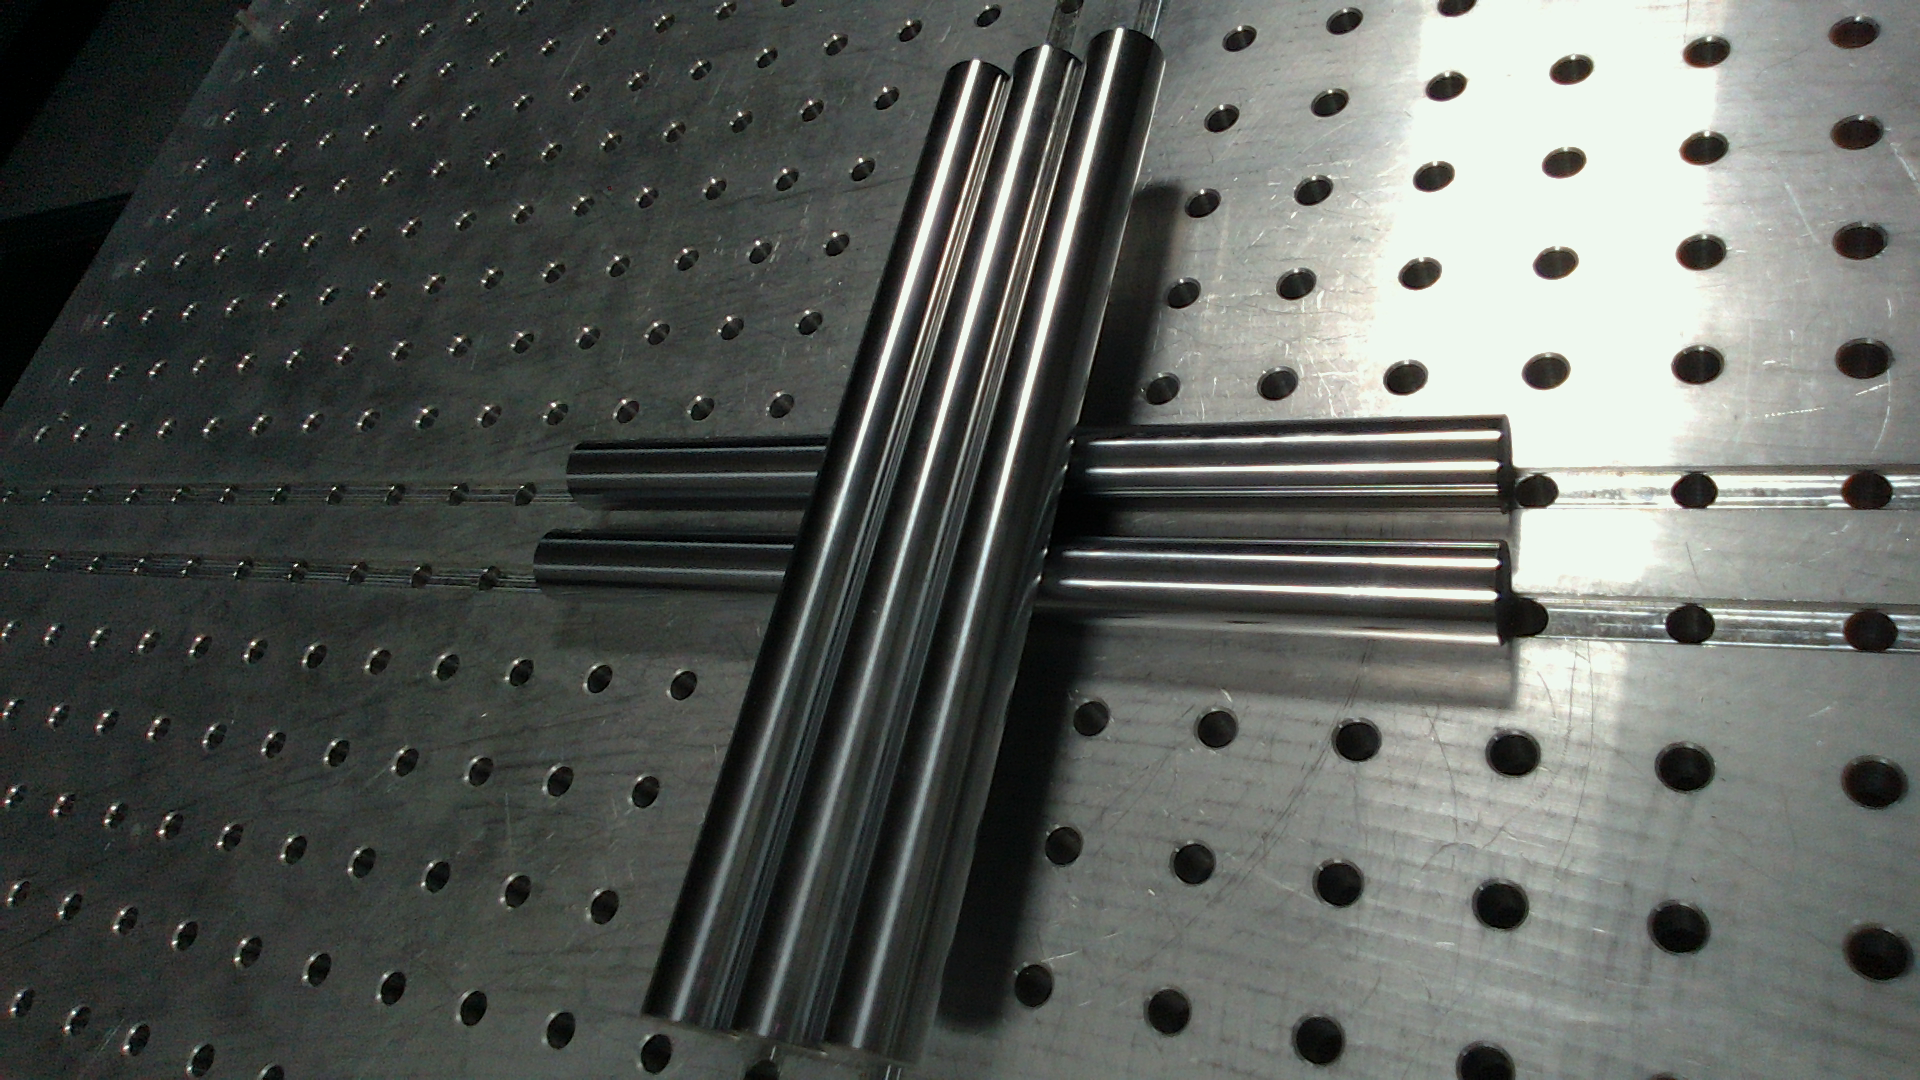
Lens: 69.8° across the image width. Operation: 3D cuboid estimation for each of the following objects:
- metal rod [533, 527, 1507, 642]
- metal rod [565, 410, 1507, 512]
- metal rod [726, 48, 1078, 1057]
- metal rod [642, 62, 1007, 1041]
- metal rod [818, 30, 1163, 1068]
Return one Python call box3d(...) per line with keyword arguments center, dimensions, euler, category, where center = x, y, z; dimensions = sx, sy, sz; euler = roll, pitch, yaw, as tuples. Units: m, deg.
box3d(center=(-0.004, 0.010, 0.393), dimensions=(0.299, 0.025, 0.025), euler=(1, 62, 29), category="metal rod")
box3d(center=(0.002, -0.021, 0.409), dimensions=(0.299, 0.025, 0.025), euler=(1, 62, 29), category="metal rod")
box3d(center=(-0.006, -0.016, 0.379), dimensions=(0.025, 0.025, 0.300), euler=(0, 62, 29), category="metal rod")
box3d(center=(-0.029, -0.016, 0.390), dimensions=(0.025, 0.025, 0.300), euler=(0, 62, 29), category="metal rod")
box3d(center=(0.016, -0.018, 0.367), dimensions=(0.025, 0.025, 0.300), euler=(0, 62, 29), category="metal rod")
